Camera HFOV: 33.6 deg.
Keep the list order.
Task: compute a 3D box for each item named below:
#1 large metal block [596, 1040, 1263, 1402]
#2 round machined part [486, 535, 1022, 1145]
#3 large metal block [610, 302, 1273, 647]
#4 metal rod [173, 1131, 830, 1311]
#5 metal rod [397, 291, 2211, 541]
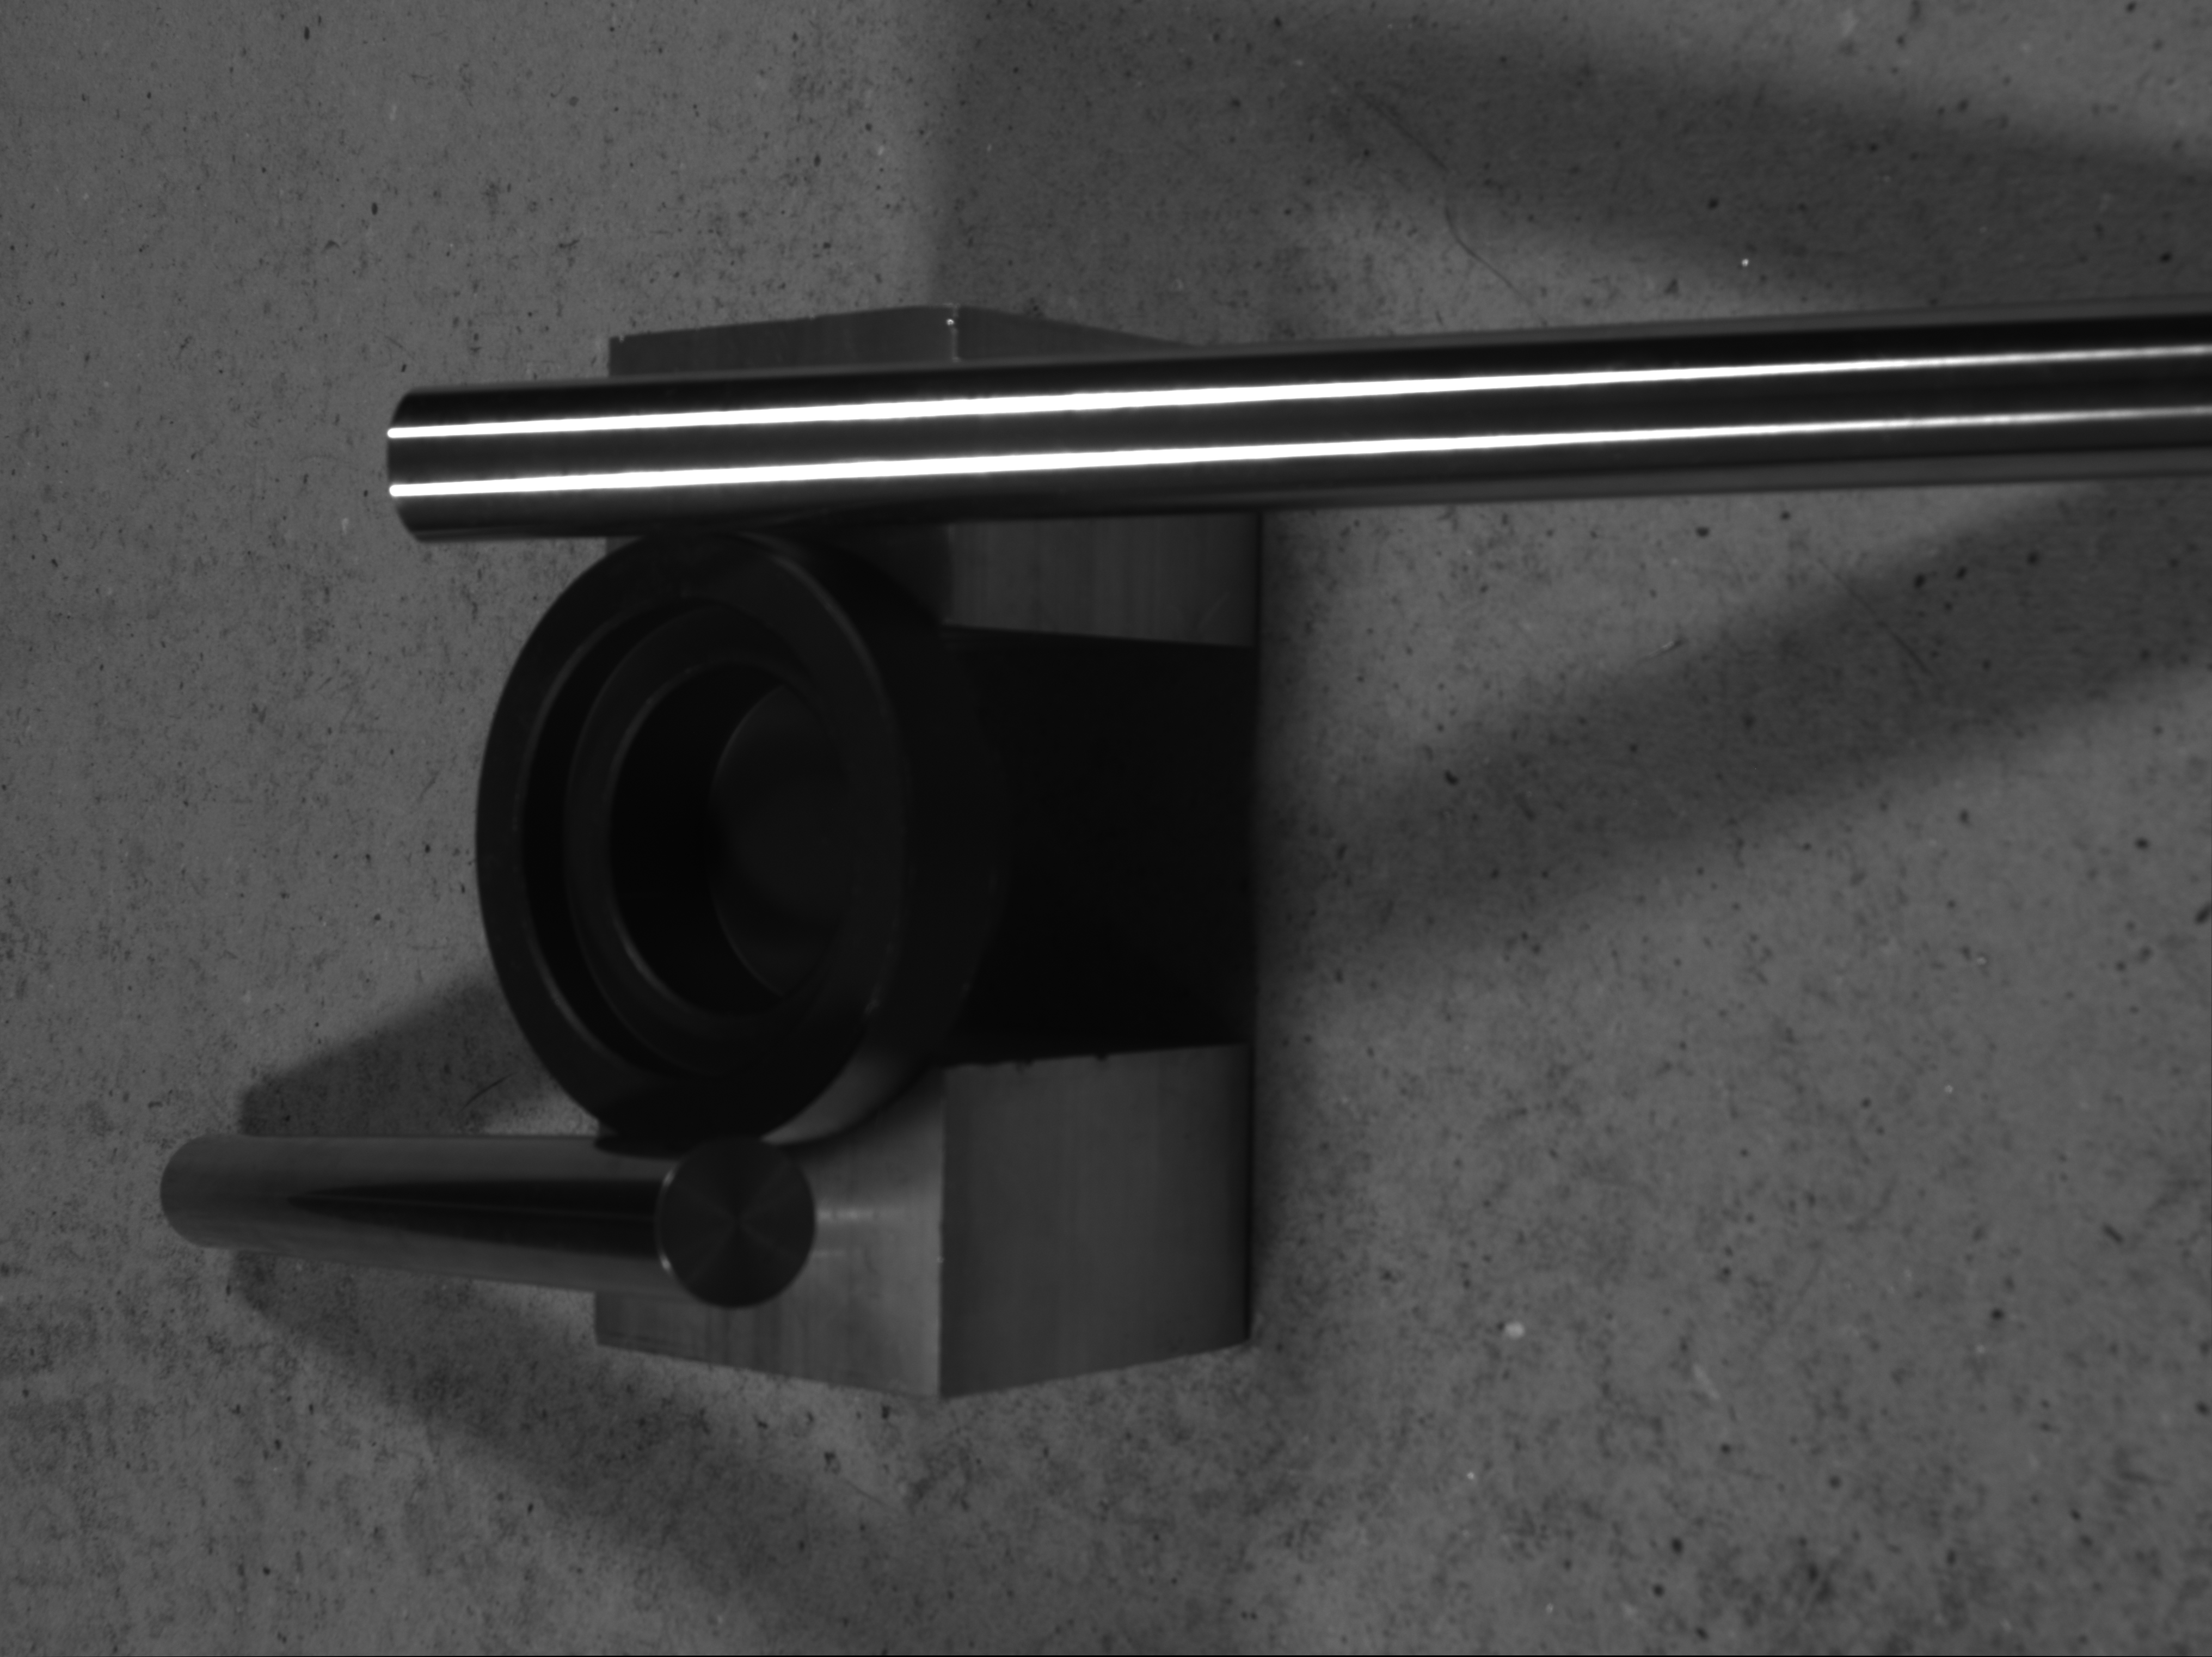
[{"bbox_3d":[-0.030,0.064,0.625,0.080,0.080,0.050,1,91,39],"label":"large metal block"},{"bbox_3d":[-0.052,0.002,0.592,0.098,0.042,0.098,0,90,39],"label":"round machined part"},{"bbox_3d":[-0.027,-0.057,0.623,0.080,0.080,0.050,1,91,39],"label":"large metal block"},{"bbox_3d":[-0.121,0.067,0.663,0.299,0.025,0.025,-8,84,62],"label":"metal rod"},{"bbox_3d":[0.036,-0.060,0.537,0.300,0.025,0.025,-1,89,17],"label":"metal rod"}]
